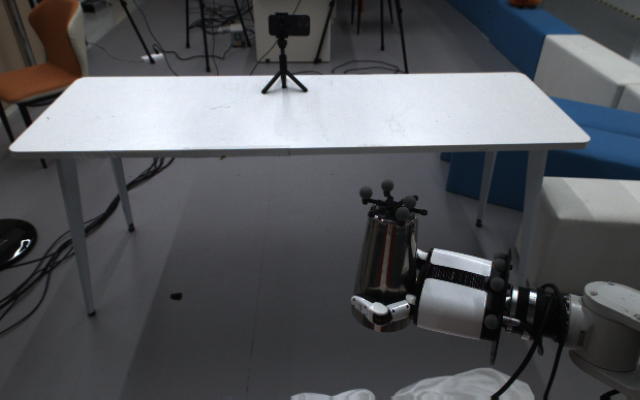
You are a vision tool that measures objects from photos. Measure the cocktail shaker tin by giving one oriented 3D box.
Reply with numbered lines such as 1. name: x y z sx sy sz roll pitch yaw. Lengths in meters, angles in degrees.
1. cocktail shaker tin: 0.097 0.089 0.682 0.093 0.170 0.093 1 28 -1
